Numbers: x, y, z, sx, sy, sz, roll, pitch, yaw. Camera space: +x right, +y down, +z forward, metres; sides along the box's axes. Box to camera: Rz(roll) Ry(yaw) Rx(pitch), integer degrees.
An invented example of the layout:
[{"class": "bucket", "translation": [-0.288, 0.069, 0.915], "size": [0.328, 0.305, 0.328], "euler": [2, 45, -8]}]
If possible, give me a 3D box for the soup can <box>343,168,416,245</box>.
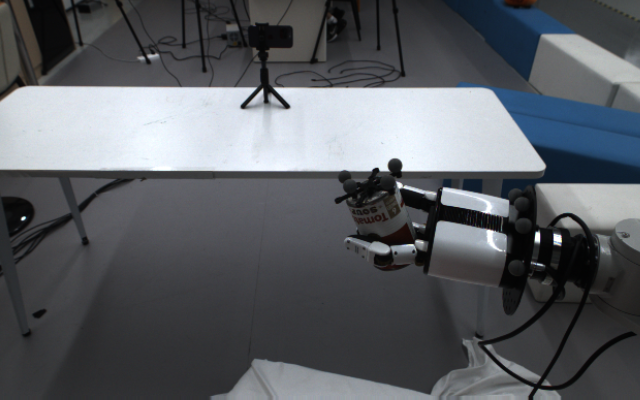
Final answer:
[{"class": "soup can", "translation": [0.083, 0.029, 0.613], "size": [0.067, 0.101, 0.067], "euler": [-21, 24, 10]}]
